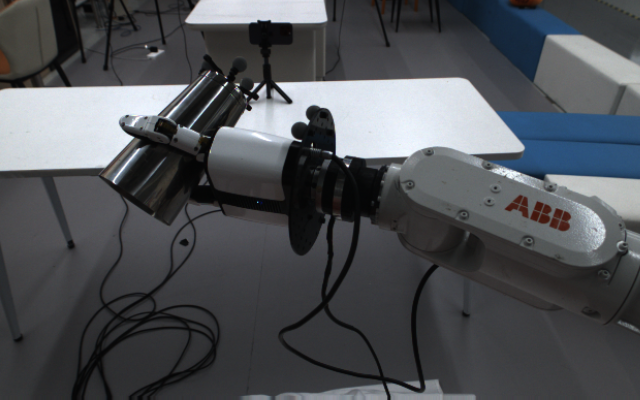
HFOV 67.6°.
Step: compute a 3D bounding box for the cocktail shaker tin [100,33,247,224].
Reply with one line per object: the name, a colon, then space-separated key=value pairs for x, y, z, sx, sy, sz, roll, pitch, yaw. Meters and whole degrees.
cocktail shaker tin: x=-0.159 y=-0.070 z=0.557 sx=0.093 sy=0.093 sz=0.170 roll=24 pitch=69 yaw=28
